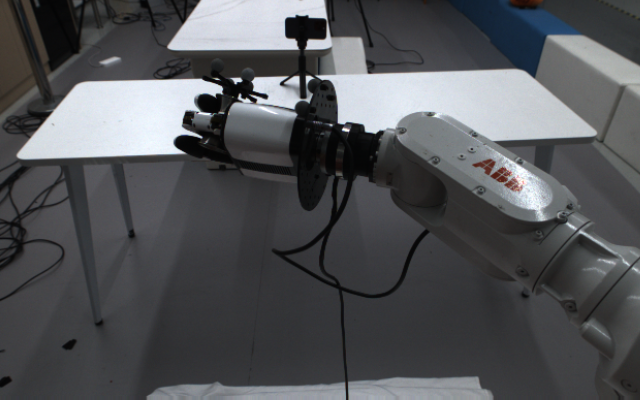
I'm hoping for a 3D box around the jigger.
[{"bbox_3d":[-0.128,-0.098,0.620,0.043,0.071,0.043,18,-6,2],"label":"jigger"}]
